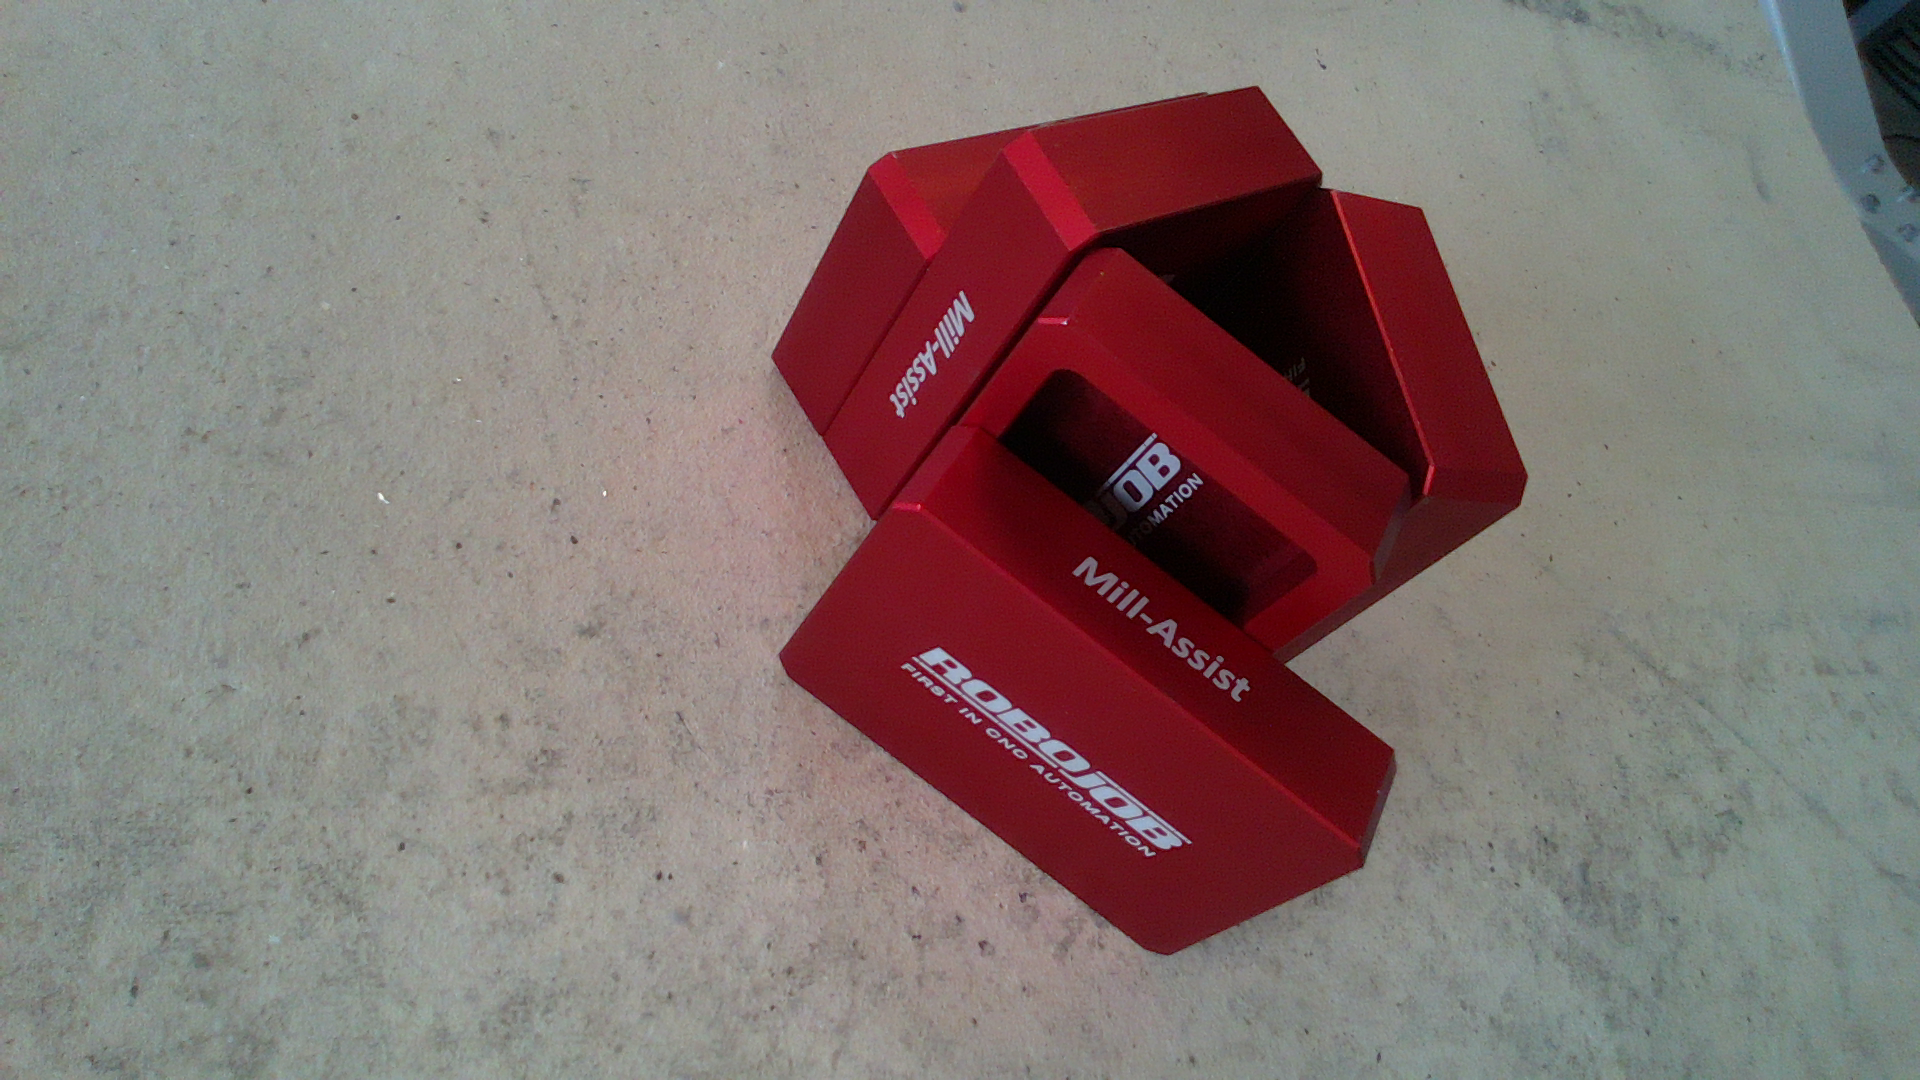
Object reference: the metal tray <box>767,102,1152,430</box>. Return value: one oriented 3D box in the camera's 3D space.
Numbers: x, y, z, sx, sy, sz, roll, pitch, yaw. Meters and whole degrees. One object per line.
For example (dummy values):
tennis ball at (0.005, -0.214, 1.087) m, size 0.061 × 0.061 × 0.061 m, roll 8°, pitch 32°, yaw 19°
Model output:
metal tray at (0.016, -0.082, 0.407) m, size 0.130 × 0.090 × 0.030 m, roll -22°, pitch 73°, yaw -36°

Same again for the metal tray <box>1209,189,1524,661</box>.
metal tray at (0.085, -0.020, 0.380) m, size 0.030 × 0.130 × 0.090 m, roll 5°, pitch 60°, yaw -26°

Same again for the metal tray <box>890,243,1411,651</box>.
metal tray at (0.033, 0.000, 0.340) m, size 0.090 × 0.130 × 0.030 m, roll 37°, pitch 51°, yaw -3°

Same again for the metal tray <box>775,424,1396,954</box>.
metal tray at (0.026, 0.041, 0.336) m, size 0.130 × 0.090 × 0.030 m, roll 38°, pitch 51°, yaw -3°

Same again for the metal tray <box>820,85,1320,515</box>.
metal tray at (0.026, -0.061, 0.373) m, size 0.090 × 0.130 × 0.030 m, roll -22°, pitch 74°, yaw -36°
